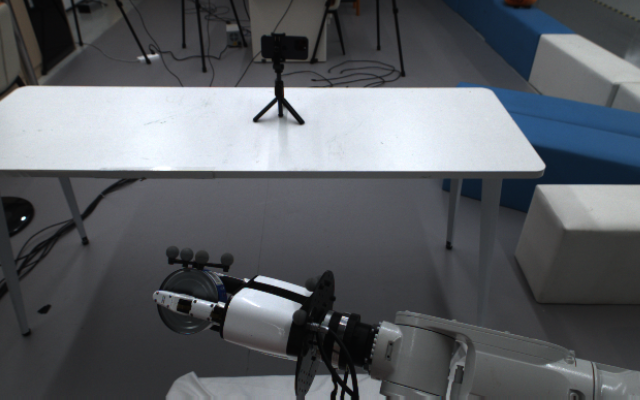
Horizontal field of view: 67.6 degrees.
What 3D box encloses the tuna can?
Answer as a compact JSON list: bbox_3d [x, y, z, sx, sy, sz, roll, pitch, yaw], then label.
[{"bbox_3d":[-0.166,0.132,0.639,0.085,0.085,0.034,11,-6,13],"label":"tuna can"}]
